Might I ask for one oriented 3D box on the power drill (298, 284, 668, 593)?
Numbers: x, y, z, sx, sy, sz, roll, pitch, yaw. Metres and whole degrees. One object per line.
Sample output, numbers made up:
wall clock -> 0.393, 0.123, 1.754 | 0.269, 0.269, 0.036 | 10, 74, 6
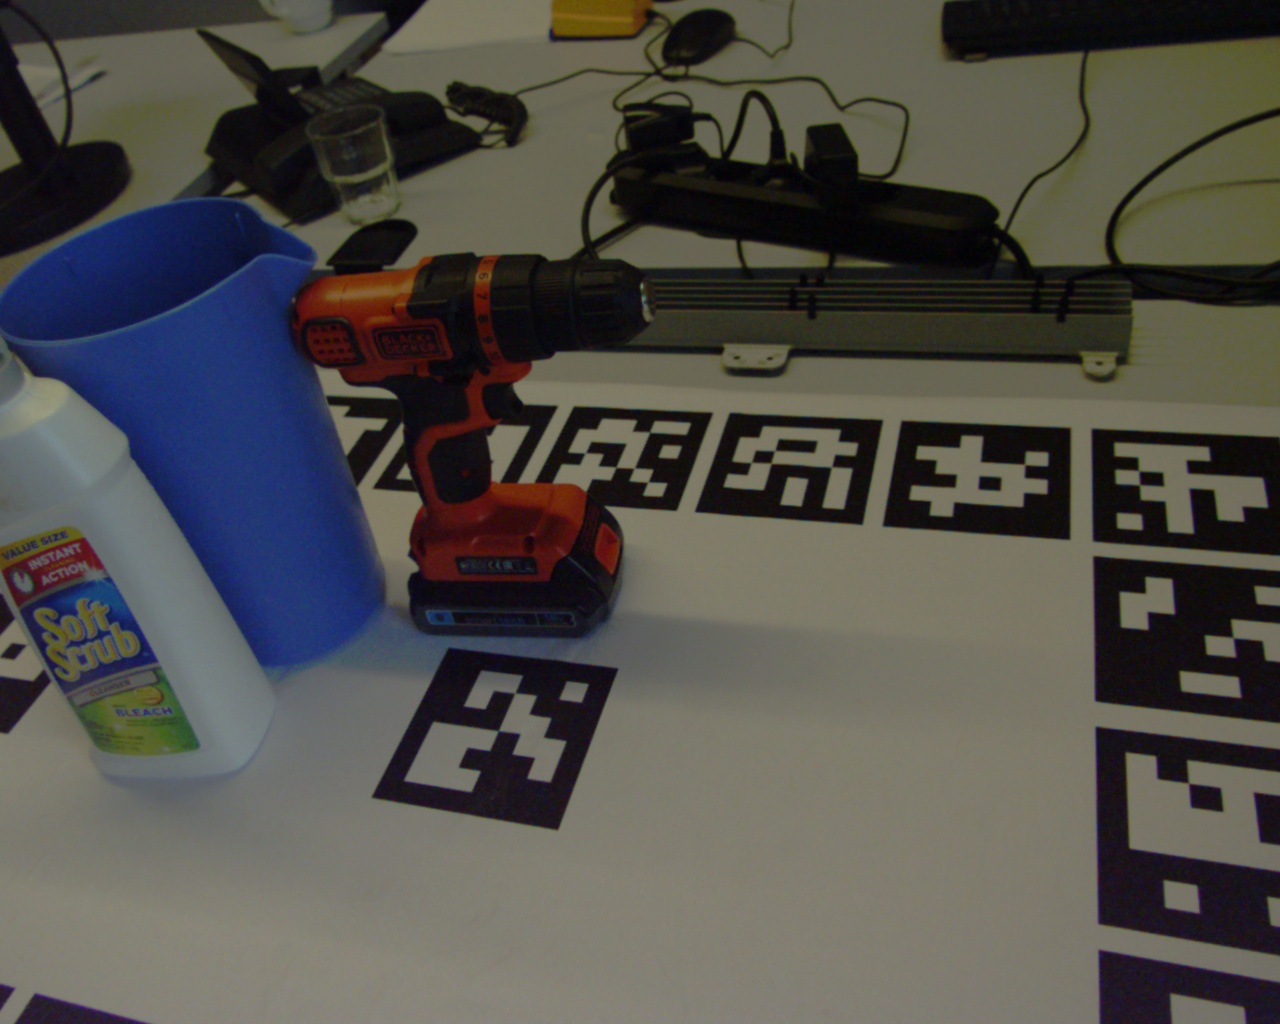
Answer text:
power drill -> -0.074, -0.036, 0.606 | 0.185, 0.186, 0.057 | 5, 48, 10

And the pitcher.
pitcher -> -0.240, -0.044, 0.640 | 0.189, 0.241, 0.134 | -14, 44, -2

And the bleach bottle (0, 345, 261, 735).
bleach bottle -> -0.280, 0.012, 0.562 | 0.103, 0.249, 0.068 | -1, 44, 13
